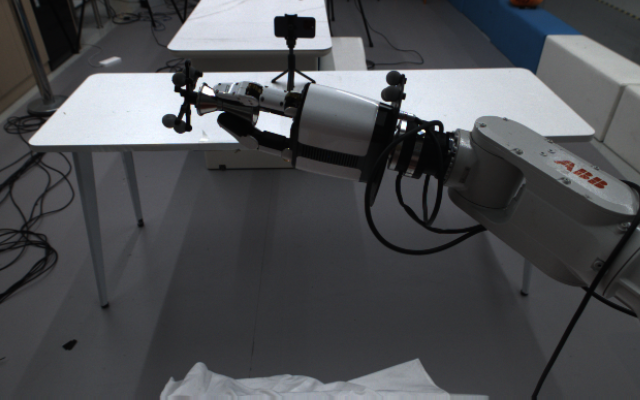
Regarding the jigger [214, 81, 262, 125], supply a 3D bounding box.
[{"bbox_3d":[-0.103,-0.119,0.587,0.071,0.043,0.043,10,35,1],"label":"jigger"}]
